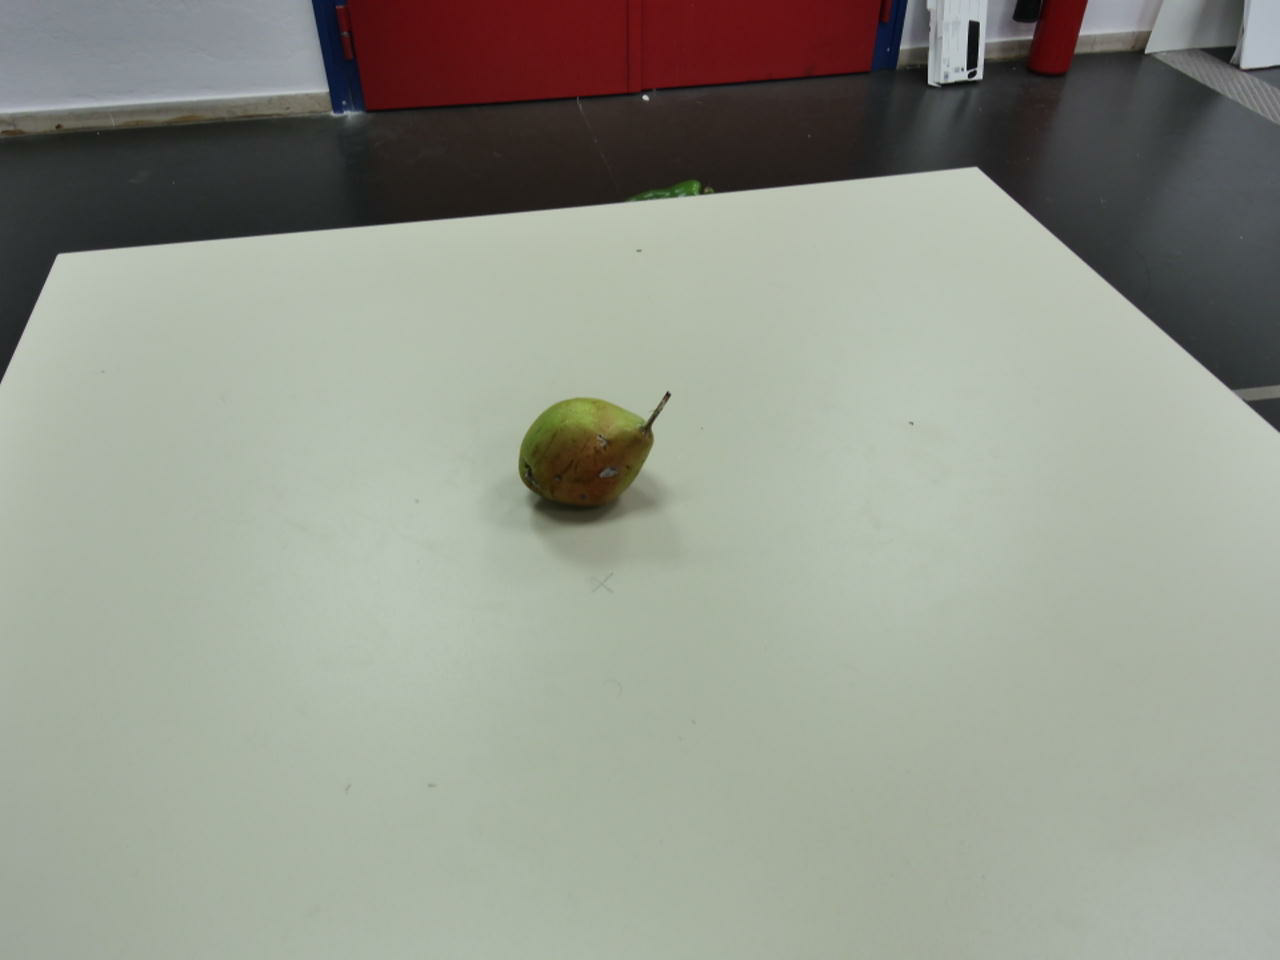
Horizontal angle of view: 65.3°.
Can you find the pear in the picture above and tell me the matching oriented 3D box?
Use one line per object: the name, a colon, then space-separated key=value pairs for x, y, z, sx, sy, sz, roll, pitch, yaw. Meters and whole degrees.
pear: x=-0.030 y=-0.018 z=0.567 sx=0.070 sy=0.069 sz=0.068 roll=26 pitch=46 yaw=29
